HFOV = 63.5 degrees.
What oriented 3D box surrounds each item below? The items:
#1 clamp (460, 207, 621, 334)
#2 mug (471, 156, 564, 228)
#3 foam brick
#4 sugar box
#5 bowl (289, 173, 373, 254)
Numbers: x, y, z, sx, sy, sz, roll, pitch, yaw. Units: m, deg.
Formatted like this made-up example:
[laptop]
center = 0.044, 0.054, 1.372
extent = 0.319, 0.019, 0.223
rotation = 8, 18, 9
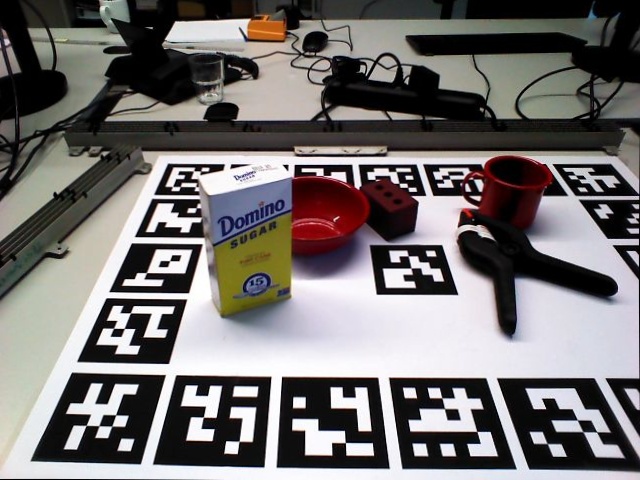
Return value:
[clamp]
center = 0.246, 0.020, 0.663
extent = 0.165, 0.037, 0.202
rotation = -17, 43, -16
[mug]
center = 0.278, -0.075, 0.750
extent = 0.117, 0.082, 0.092
rotation = 20, 43, 17
[foam brick]
center = 0.108, -0.041, 0.745
extent = 0.052, 0.051, 0.078
rotation = -19, 44, -20
[sugar box]
center = -0.082, 0.007, 0.580
extent = 0.092, 0.177, 0.045
rotation = -16, 44, -20
[bowl]
center = -0.008, -0.030, 0.720
extent = 0.162, 0.055, 0.161
rotation = 0, 39, -1
